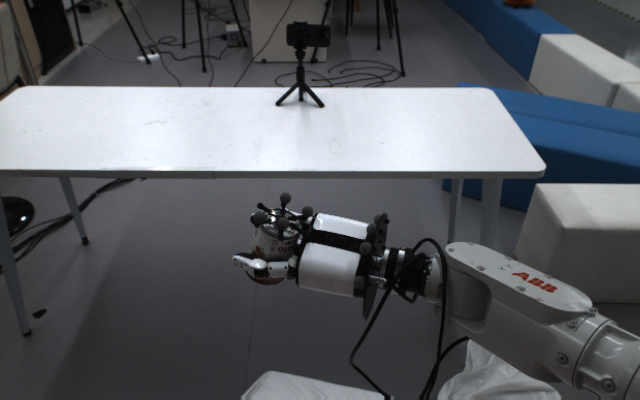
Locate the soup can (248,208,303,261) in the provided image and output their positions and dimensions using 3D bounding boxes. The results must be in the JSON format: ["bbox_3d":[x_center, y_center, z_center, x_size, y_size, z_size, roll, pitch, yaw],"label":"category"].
[{"bbox_3d":[-0.071,0.071,0.736,0.067,0.101,0.067,14,35,-10],"label":"soup can"}]
